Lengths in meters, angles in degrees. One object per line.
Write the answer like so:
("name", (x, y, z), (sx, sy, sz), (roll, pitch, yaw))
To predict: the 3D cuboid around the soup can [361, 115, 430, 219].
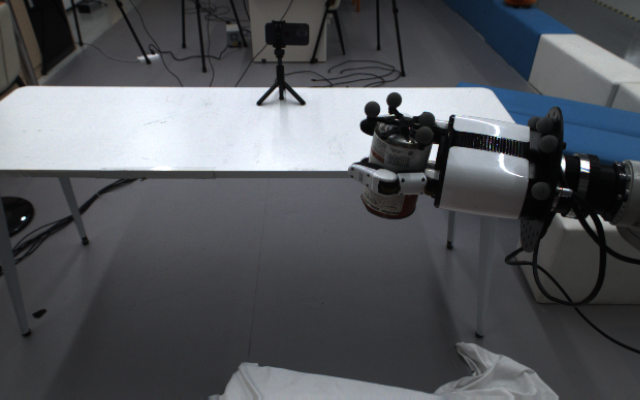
("soup can", (0.090, -0.038, 0.564), (0.067, 0.101, 0.067), (5, 37, -4))
